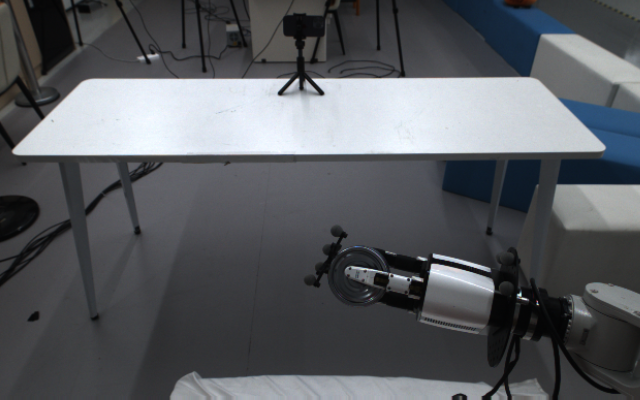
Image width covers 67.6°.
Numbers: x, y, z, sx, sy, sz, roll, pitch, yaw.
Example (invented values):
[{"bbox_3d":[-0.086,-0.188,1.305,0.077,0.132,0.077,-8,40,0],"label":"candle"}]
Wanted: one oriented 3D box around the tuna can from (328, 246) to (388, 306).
[{"bbox_3d":[0.057,0.105,0.678,0.085,0.085,0.034,9,-5,10],"label":"tuna can"}]
